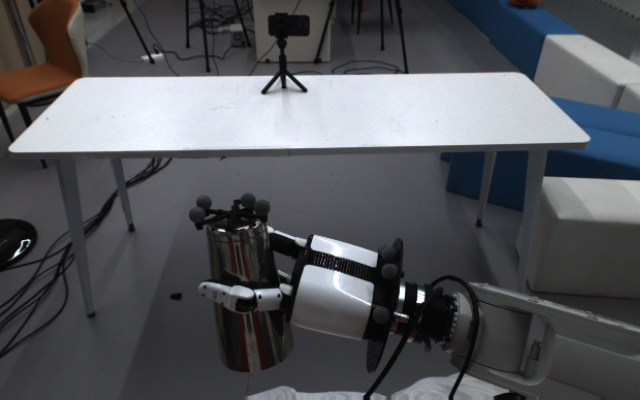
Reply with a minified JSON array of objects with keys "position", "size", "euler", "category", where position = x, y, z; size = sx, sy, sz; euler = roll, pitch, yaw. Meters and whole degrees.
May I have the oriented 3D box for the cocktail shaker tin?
[{"position":[-0.085,0.103,0.569],"size":[0.093,0.170,0.093],"euler":[-6,19,2],"category":"cocktail shaker tin"}]
